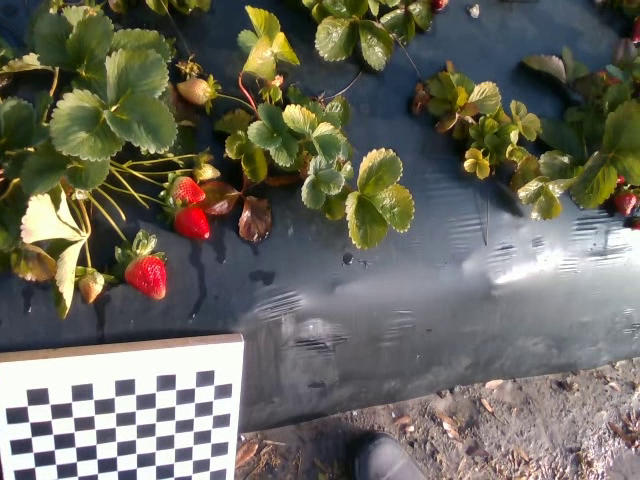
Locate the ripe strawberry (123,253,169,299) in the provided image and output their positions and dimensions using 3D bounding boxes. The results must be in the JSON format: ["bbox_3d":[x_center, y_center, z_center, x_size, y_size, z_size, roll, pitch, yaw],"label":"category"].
[{"bbox_3d":[-0.206,0.047,0.742,0.050,0.065,0.050,-36,-24,3],"label":"ripe strawberry"}]

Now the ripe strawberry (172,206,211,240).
[{"bbox_3d":[-0.158,-0.017,0.774,0.055,0.045,0.041,38,15,22],"label":"ripe strawberry"}]
